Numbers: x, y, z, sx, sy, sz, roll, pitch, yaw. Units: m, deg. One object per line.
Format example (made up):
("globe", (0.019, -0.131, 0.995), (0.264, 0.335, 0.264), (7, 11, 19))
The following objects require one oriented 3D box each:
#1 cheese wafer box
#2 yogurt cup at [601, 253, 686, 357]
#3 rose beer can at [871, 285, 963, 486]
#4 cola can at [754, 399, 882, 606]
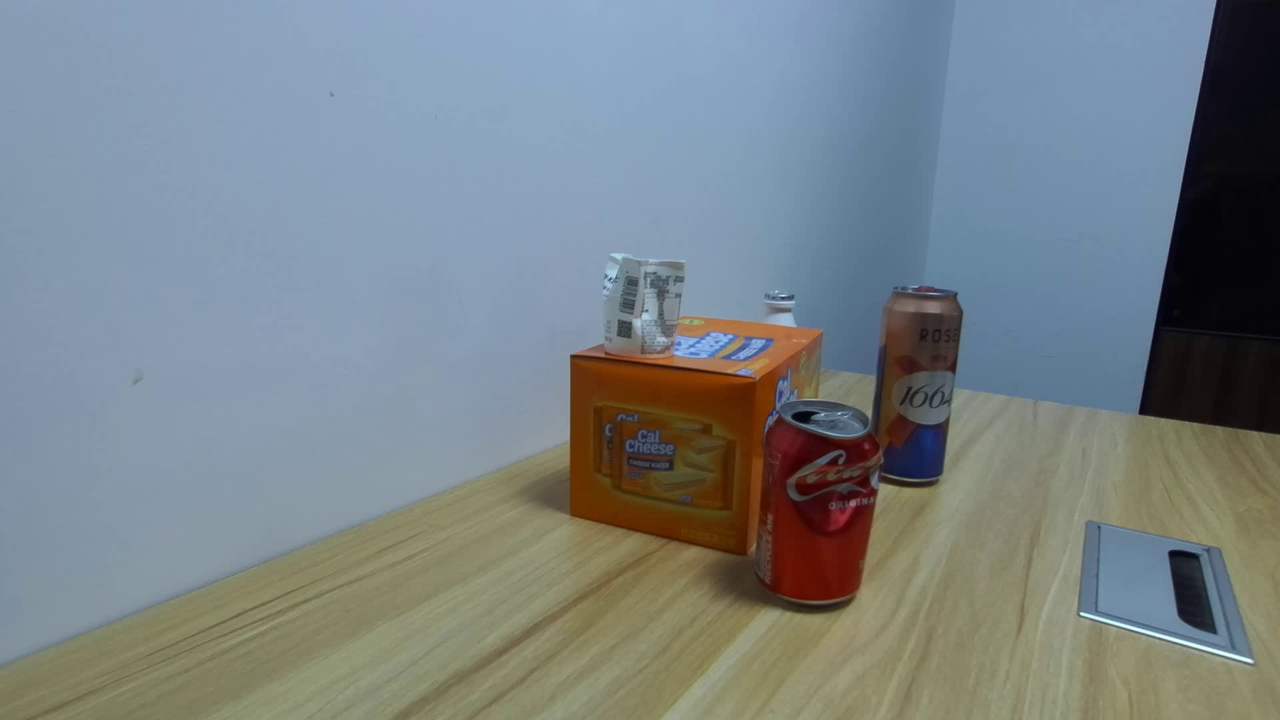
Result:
("cheese wafer box", (0.057, 0.046, 0.593), (0.147, 0.129, 0.222), (7, 14, 25))
("yogurt cup", (0.000, -0.040, 0.520), (0.055, 0.072, 0.054), (-2, 13, -19))
("rose beer can", (0.245, 0.023, 0.631), (0.068, 0.169, 0.068), (3, 13, 0))
("cola can", (0.108, 0.085, 0.436), (0.072, 0.117, 0.065), (-3, 14, -15))
